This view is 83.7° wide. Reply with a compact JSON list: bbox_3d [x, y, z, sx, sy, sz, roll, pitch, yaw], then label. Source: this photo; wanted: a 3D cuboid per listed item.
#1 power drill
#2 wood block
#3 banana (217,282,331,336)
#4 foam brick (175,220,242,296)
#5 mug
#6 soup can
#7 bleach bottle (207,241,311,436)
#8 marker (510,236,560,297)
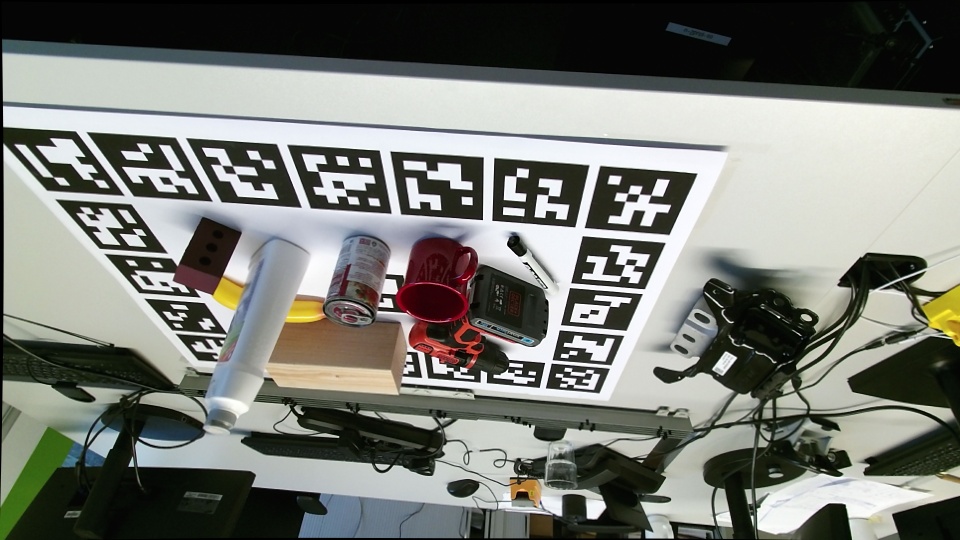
[{"bbox_3d":[0.003,0.096,0.819,0.185,0.057,0.187,25,139,-17],"label":"power drill"},{"bbox_3d":[-0.234,0.147,0.882,0.207,0.090,0.090,3,140,4],"label":"wood block"},{"bbox_3d":[-0.313,0.069,0.830,0.198,0.038,0.074,15,127,-8],"label":"banana"},{"bbox_3d":[-0.358,-0.015,0.705,0.053,0.077,0.051,25,140,-25],"label":"foam brick"},{"bbox_3d":[-0.046,0.016,0.695,0.093,0.081,0.117,35,130,-29],"label":"mug"},{"bbox_3d":[-0.156,0.023,0.695,0.068,0.101,0.068,5,146,4],"label":"soup can"},{"bbox_3d":[-0.286,0.087,0.683,0.068,0.249,0.103,22,140,-20],"label":"bleach bottle"},{"bbox_3d":[0.073,-0.004,0.708,0.020,0.019,0.121,-18,135,24],"label":"marker"}]
